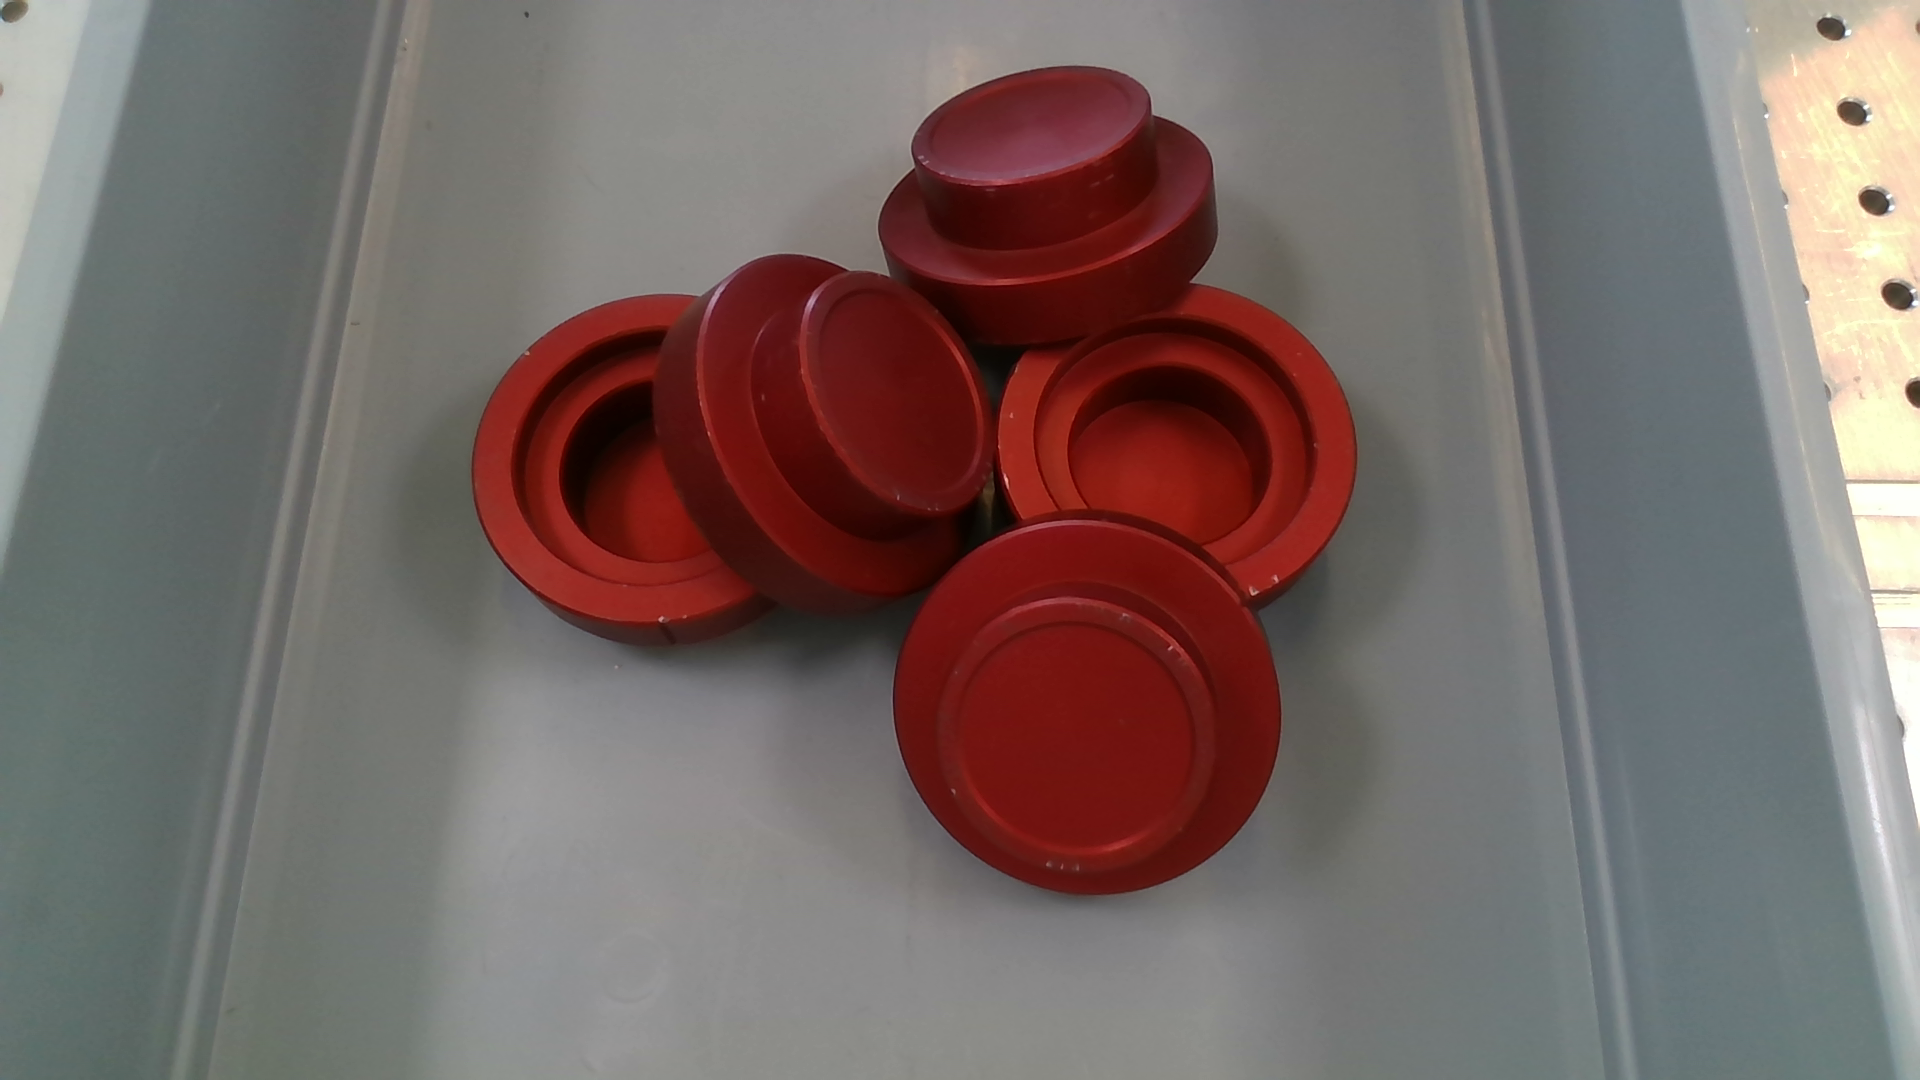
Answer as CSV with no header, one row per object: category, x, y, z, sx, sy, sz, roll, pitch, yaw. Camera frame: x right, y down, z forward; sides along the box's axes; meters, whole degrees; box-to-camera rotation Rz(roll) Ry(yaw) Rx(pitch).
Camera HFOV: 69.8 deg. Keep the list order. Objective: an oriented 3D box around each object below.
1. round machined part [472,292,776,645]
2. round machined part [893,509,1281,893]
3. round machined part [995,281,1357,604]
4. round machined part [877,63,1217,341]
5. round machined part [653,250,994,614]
round machined part,-0.083,-0.017,0.391,0.098,0.042,0.098,0,70,0
round machined part,0.031,0.043,0.346,0.098,0.042,0.098,2,101,10
round machined part,0.058,-0.021,0.392,0.098,0.042,0.098,0,70,0
round machined part,0.023,-0.103,0.399,0.098,0.042,0.098,-8,42,8
round machined part,-0.029,-0.033,0.367,0.042,0.098,0.098,-24,65,39
